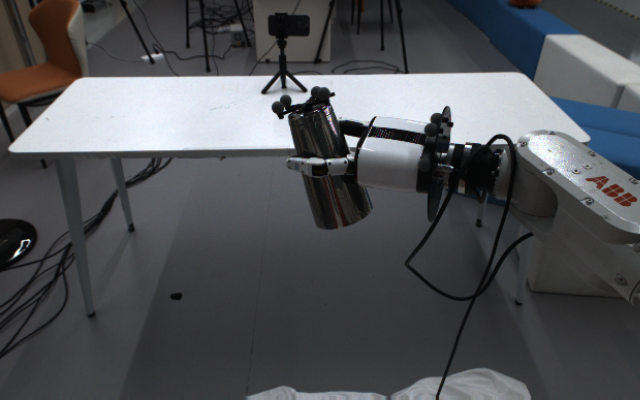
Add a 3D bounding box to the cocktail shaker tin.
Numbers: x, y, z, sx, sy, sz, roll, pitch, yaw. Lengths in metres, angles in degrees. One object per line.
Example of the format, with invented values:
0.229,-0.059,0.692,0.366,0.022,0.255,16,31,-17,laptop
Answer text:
0.011,-0.053,0.715,0.093,0.170,0.093,-17,20,7,cocktail shaker tin
